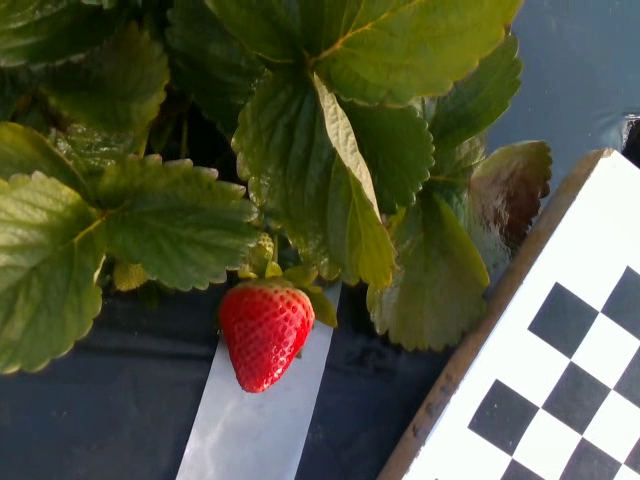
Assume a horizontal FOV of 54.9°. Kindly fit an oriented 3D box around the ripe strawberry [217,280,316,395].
[{"bbox_3d":[-0.019,0.038,0.230,0.050,0.055,0.035,29,-22,-17],"label":"ripe strawberry"}]
